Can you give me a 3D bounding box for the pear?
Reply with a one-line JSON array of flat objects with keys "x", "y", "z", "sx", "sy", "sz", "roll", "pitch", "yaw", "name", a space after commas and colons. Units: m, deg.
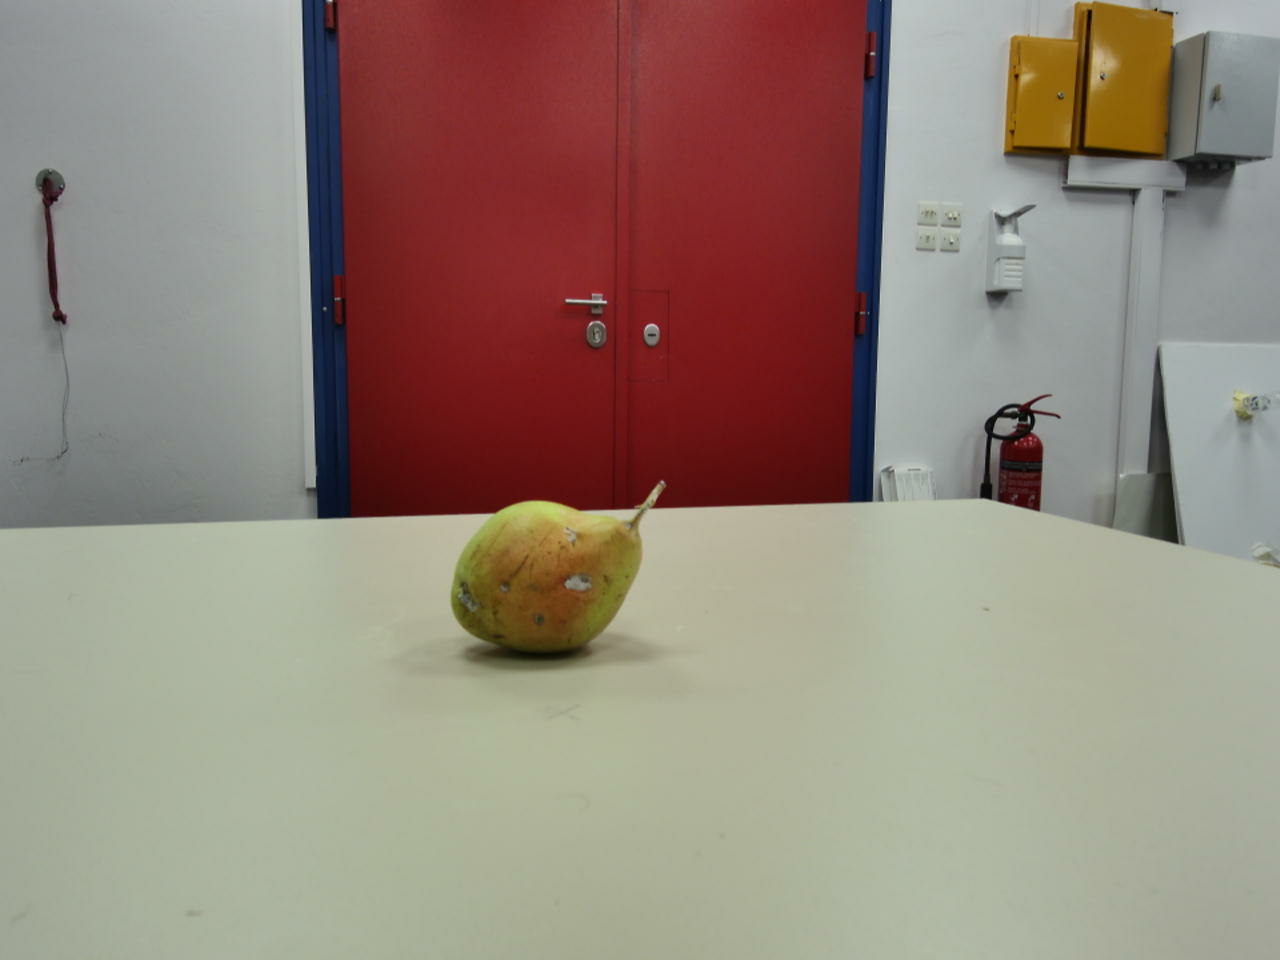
[{"x": -0.037, "y": 0.036, "z": 0.410, "sx": 0.070, "sy": 0.069, "sz": 0.068, "roll": 3, "pitch": 5, "yaw": 38, "name": "pear"}]
